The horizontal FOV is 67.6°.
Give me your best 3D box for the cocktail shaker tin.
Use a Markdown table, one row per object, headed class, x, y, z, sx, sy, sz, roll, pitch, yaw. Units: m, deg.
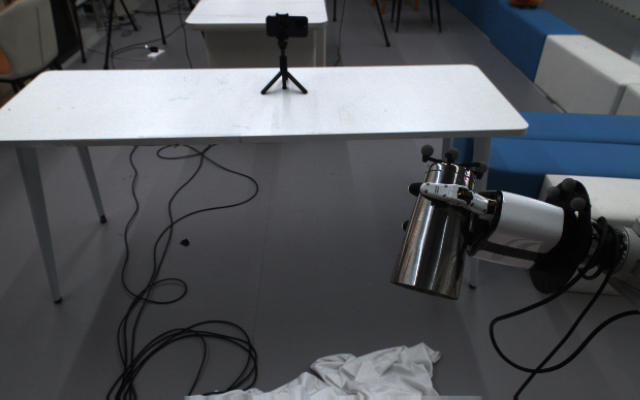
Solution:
| class | x | y | z | sx | sy | sz | roll | pitch | yaw |
| --- | --- | --- | --- | --- | --- | --- | --- | --- | --- |
| cocktail shaker tin | 0.163 | 0.037 | 0.658 | 0.093 | 0.093 | 0.170 | 13 | 79 | 15 |
